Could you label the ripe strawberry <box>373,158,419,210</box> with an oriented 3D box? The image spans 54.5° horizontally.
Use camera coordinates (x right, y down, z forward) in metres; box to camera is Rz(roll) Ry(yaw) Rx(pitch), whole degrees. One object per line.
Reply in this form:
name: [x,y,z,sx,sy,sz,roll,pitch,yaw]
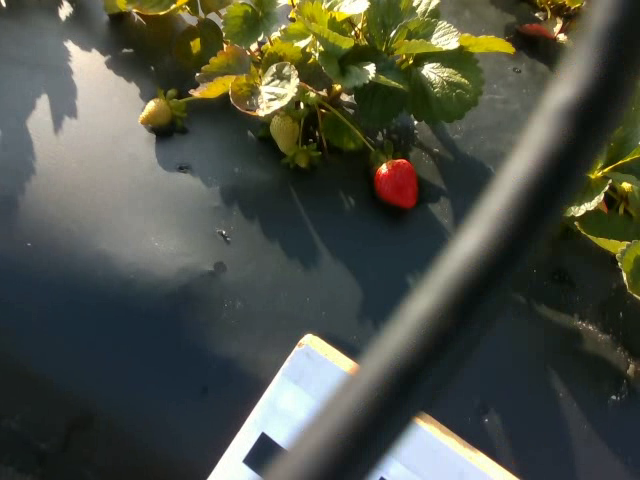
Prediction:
ripe strawberry: [0.055,-0.034,0.408,0.030,0.044,0.033,-29,-34,19]
